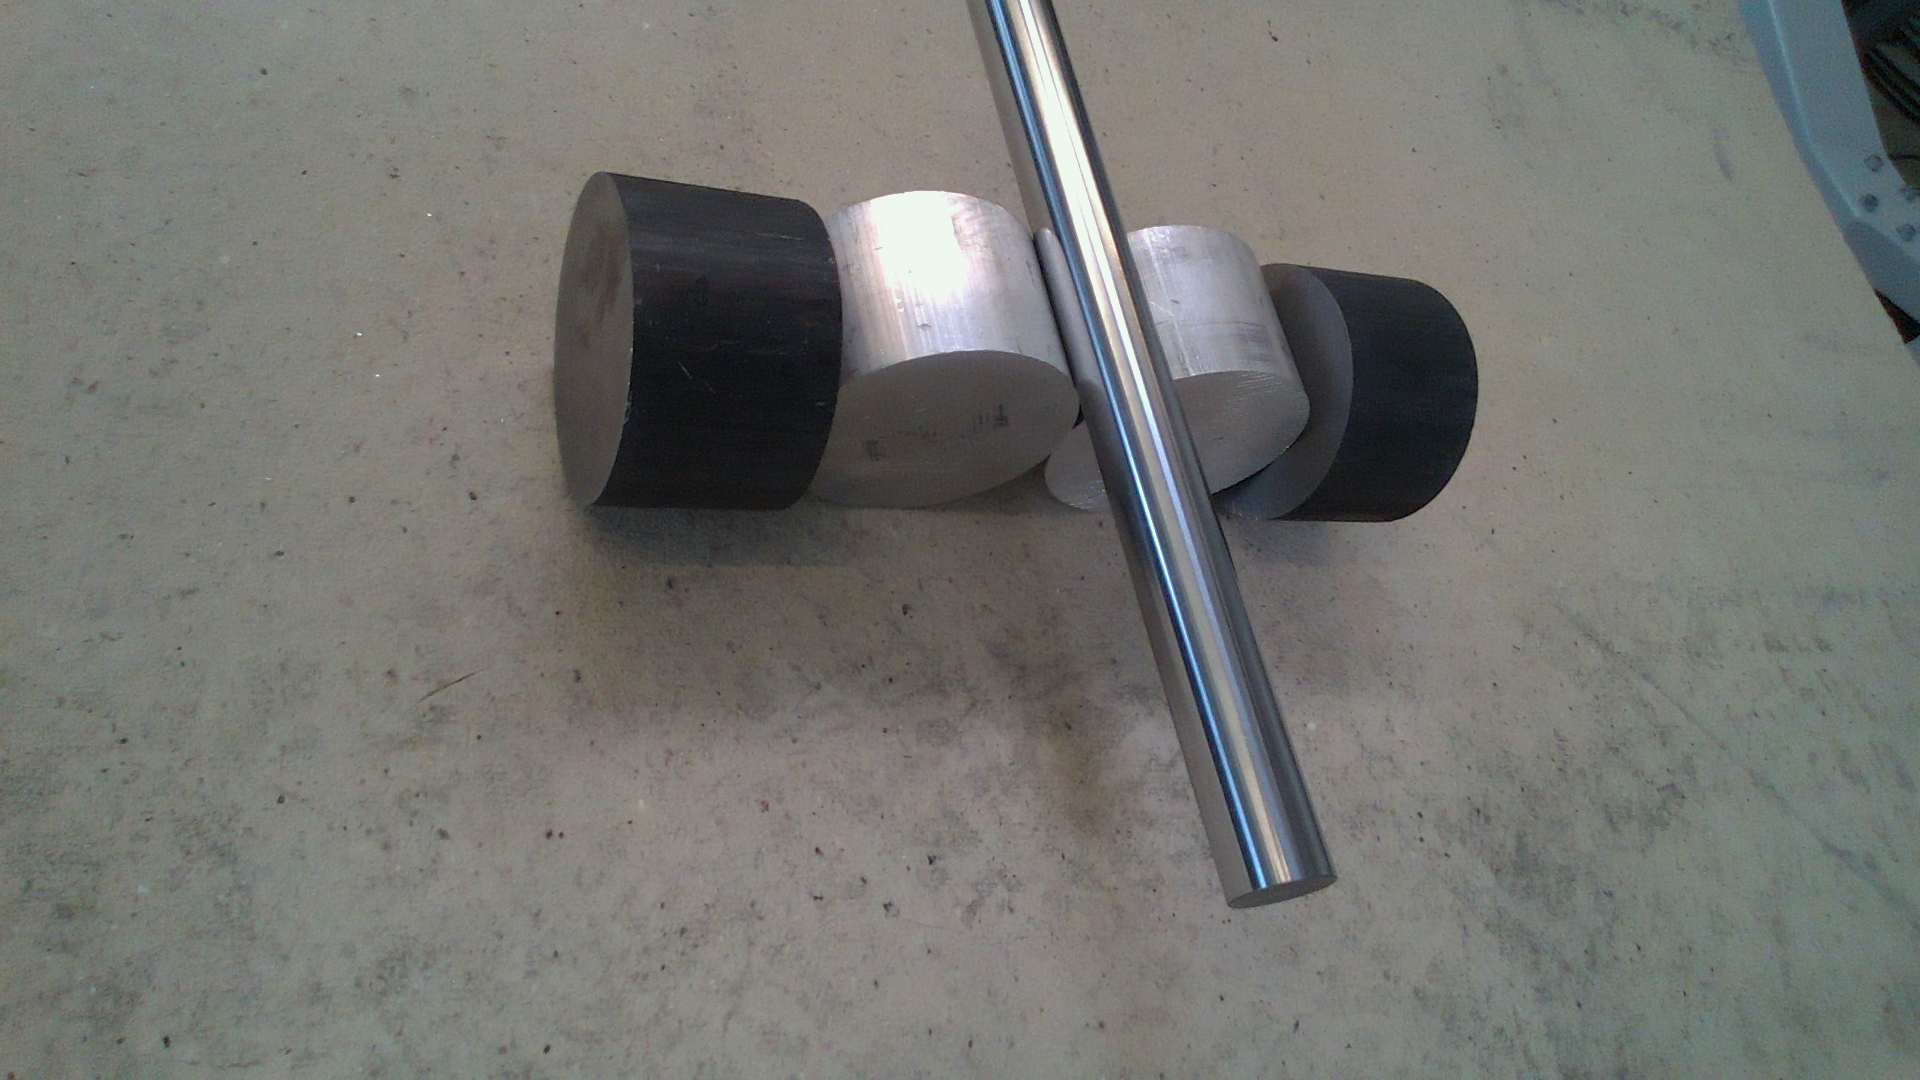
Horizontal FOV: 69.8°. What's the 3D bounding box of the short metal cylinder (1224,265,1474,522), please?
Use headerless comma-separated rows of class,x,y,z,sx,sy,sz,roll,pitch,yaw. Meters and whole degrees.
short metal cylinder,0.117,-0.046,0.446,0.050,0.080,0.080,1,61,-28

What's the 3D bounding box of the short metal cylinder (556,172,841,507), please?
short metal cylinder,-0.069,-0.049,0.347,0.050,0.080,0.080,1,61,-28

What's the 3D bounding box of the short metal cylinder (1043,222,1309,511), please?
short metal cylinder,0.058,-0.050,0.416,0.080,0.080,0.050,1,61,-28

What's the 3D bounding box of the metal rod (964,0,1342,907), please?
metal rod,0.040,-0.055,0.366,0.025,0.025,0.300,1,61,-28

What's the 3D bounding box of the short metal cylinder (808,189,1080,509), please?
short metal cylinder,-0.012,-0.050,0.379,0.080,0.080,0.050,1,61,-28
